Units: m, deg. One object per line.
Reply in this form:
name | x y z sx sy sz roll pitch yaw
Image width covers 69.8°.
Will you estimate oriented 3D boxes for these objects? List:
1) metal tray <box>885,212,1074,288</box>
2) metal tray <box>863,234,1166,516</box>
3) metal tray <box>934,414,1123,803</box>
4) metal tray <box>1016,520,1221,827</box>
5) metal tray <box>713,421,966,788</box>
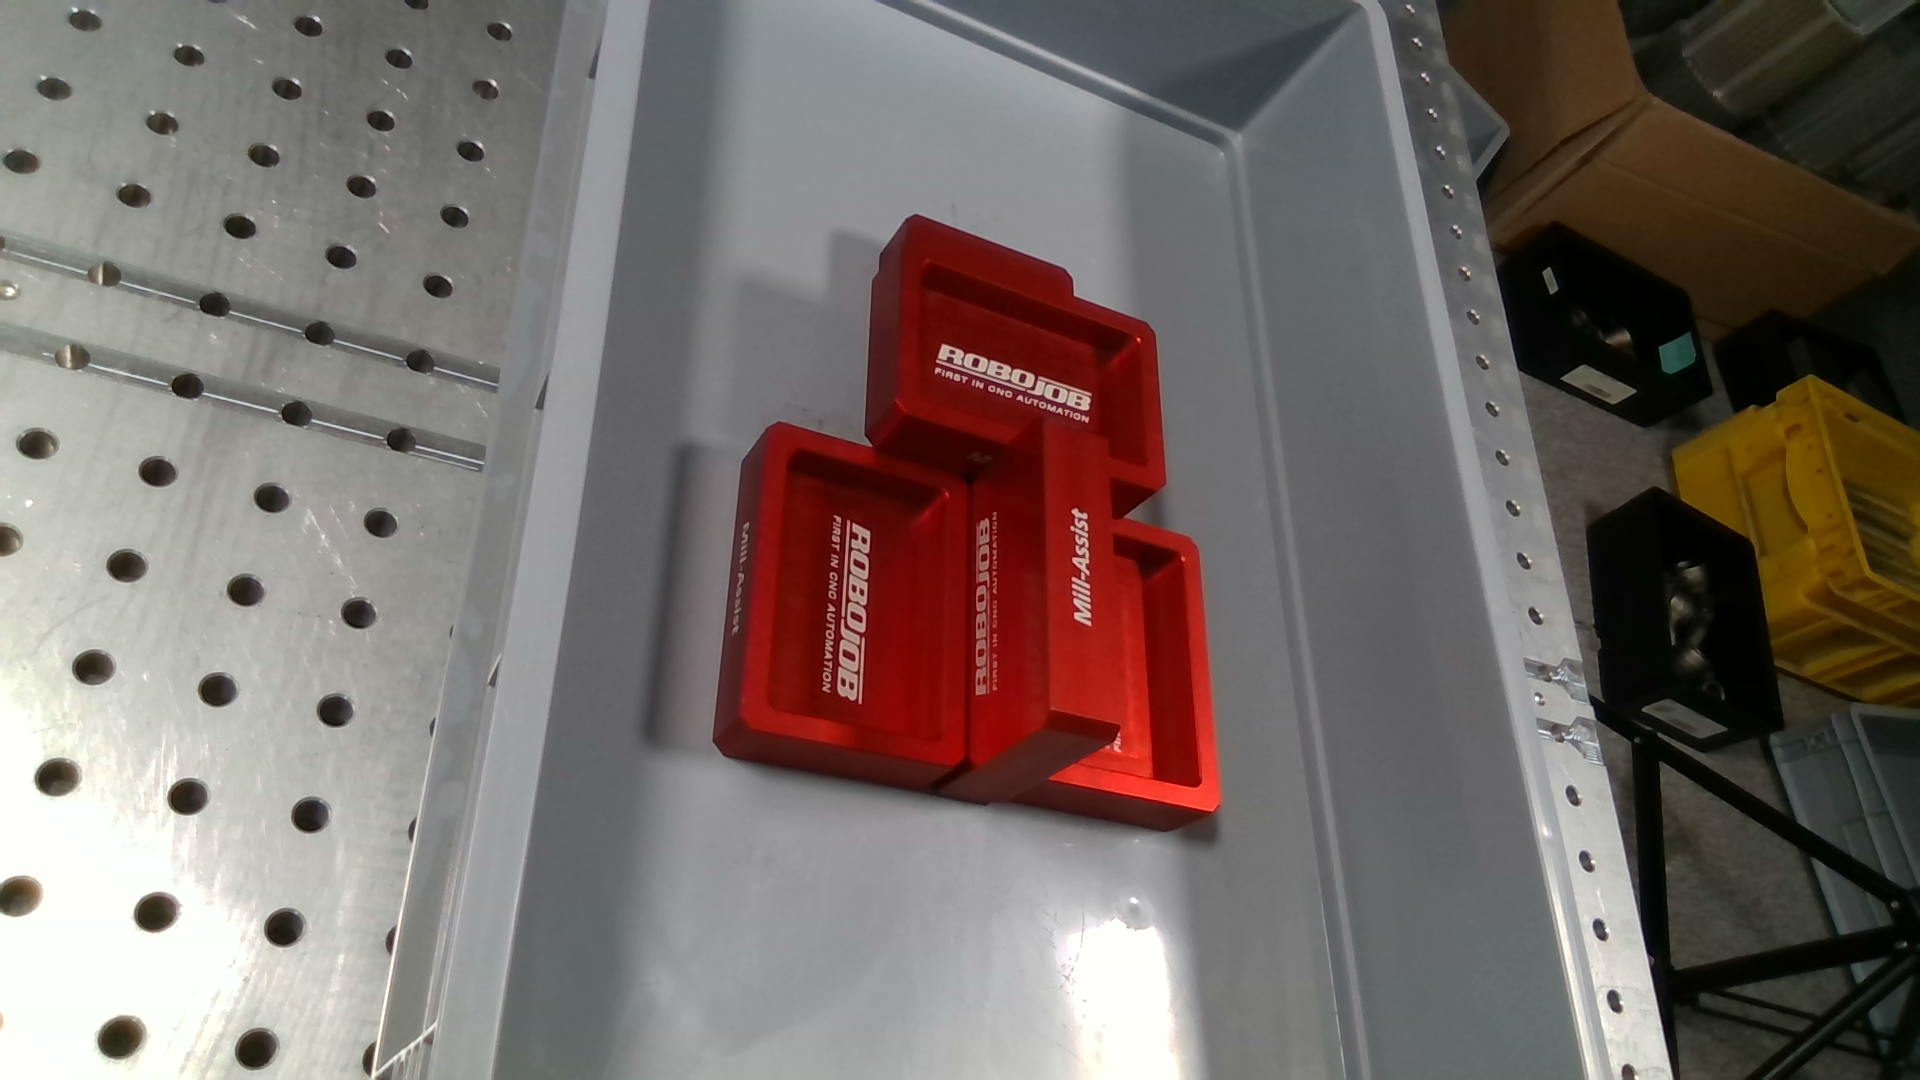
metal tray | 0.009 -0.078 0.627 0.090 0.030 0.130 15 59 -25
metal tray | 0.025 -0.070 0.594 0.130 0.030 0.090 15 58 -24
metal tray | 0.024 0.028 0.541 0.030 0.090 0.130 15 58 -24
metal tray | 0.063 0.052 0.592 0.090 0.030 0.130 15 58 -25
metal tray | -0.044 0.025 0.541 0.090 0.030 0.130 15 58 -25
